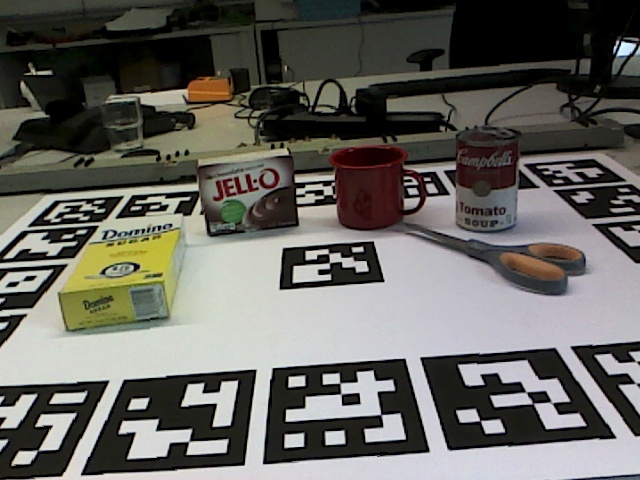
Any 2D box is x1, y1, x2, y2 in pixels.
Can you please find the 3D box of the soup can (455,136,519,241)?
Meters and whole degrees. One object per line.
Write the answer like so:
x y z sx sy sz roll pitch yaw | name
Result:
0.186 -0.058 0.695 0.068 0.102 0.068 -5 26 2 | soup can

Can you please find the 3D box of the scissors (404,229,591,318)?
0.167 0.017 0.625 0.087 0.016 0.204 -36 40 -29 | scissors

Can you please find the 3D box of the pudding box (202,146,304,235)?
-0.079 -0.060 0.736 0.113 0.090 0.039 -9 34 -7 | pudding box

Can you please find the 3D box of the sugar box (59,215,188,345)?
-0.194 0.034 0.640 0.093 0.045 0.177 -8 29 0 | sugar box

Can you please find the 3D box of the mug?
0.070 -0.065 0.735 0.093 0.081 0.118 -25 32 -29 | mug
